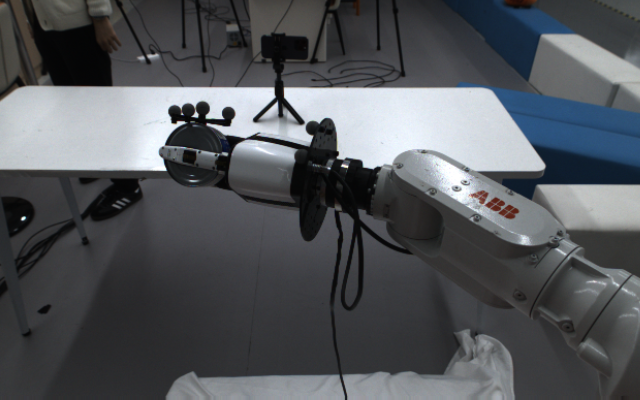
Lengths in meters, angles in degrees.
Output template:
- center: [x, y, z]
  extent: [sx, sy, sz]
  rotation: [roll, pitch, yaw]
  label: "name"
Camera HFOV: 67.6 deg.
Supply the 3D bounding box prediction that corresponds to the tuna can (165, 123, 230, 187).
- center: [-0.164, -0.059, 0.652]
  extent: [0.085, 0.085, 0.034]
  rotation: [12, 2, 14]
  label: "tuna can"
